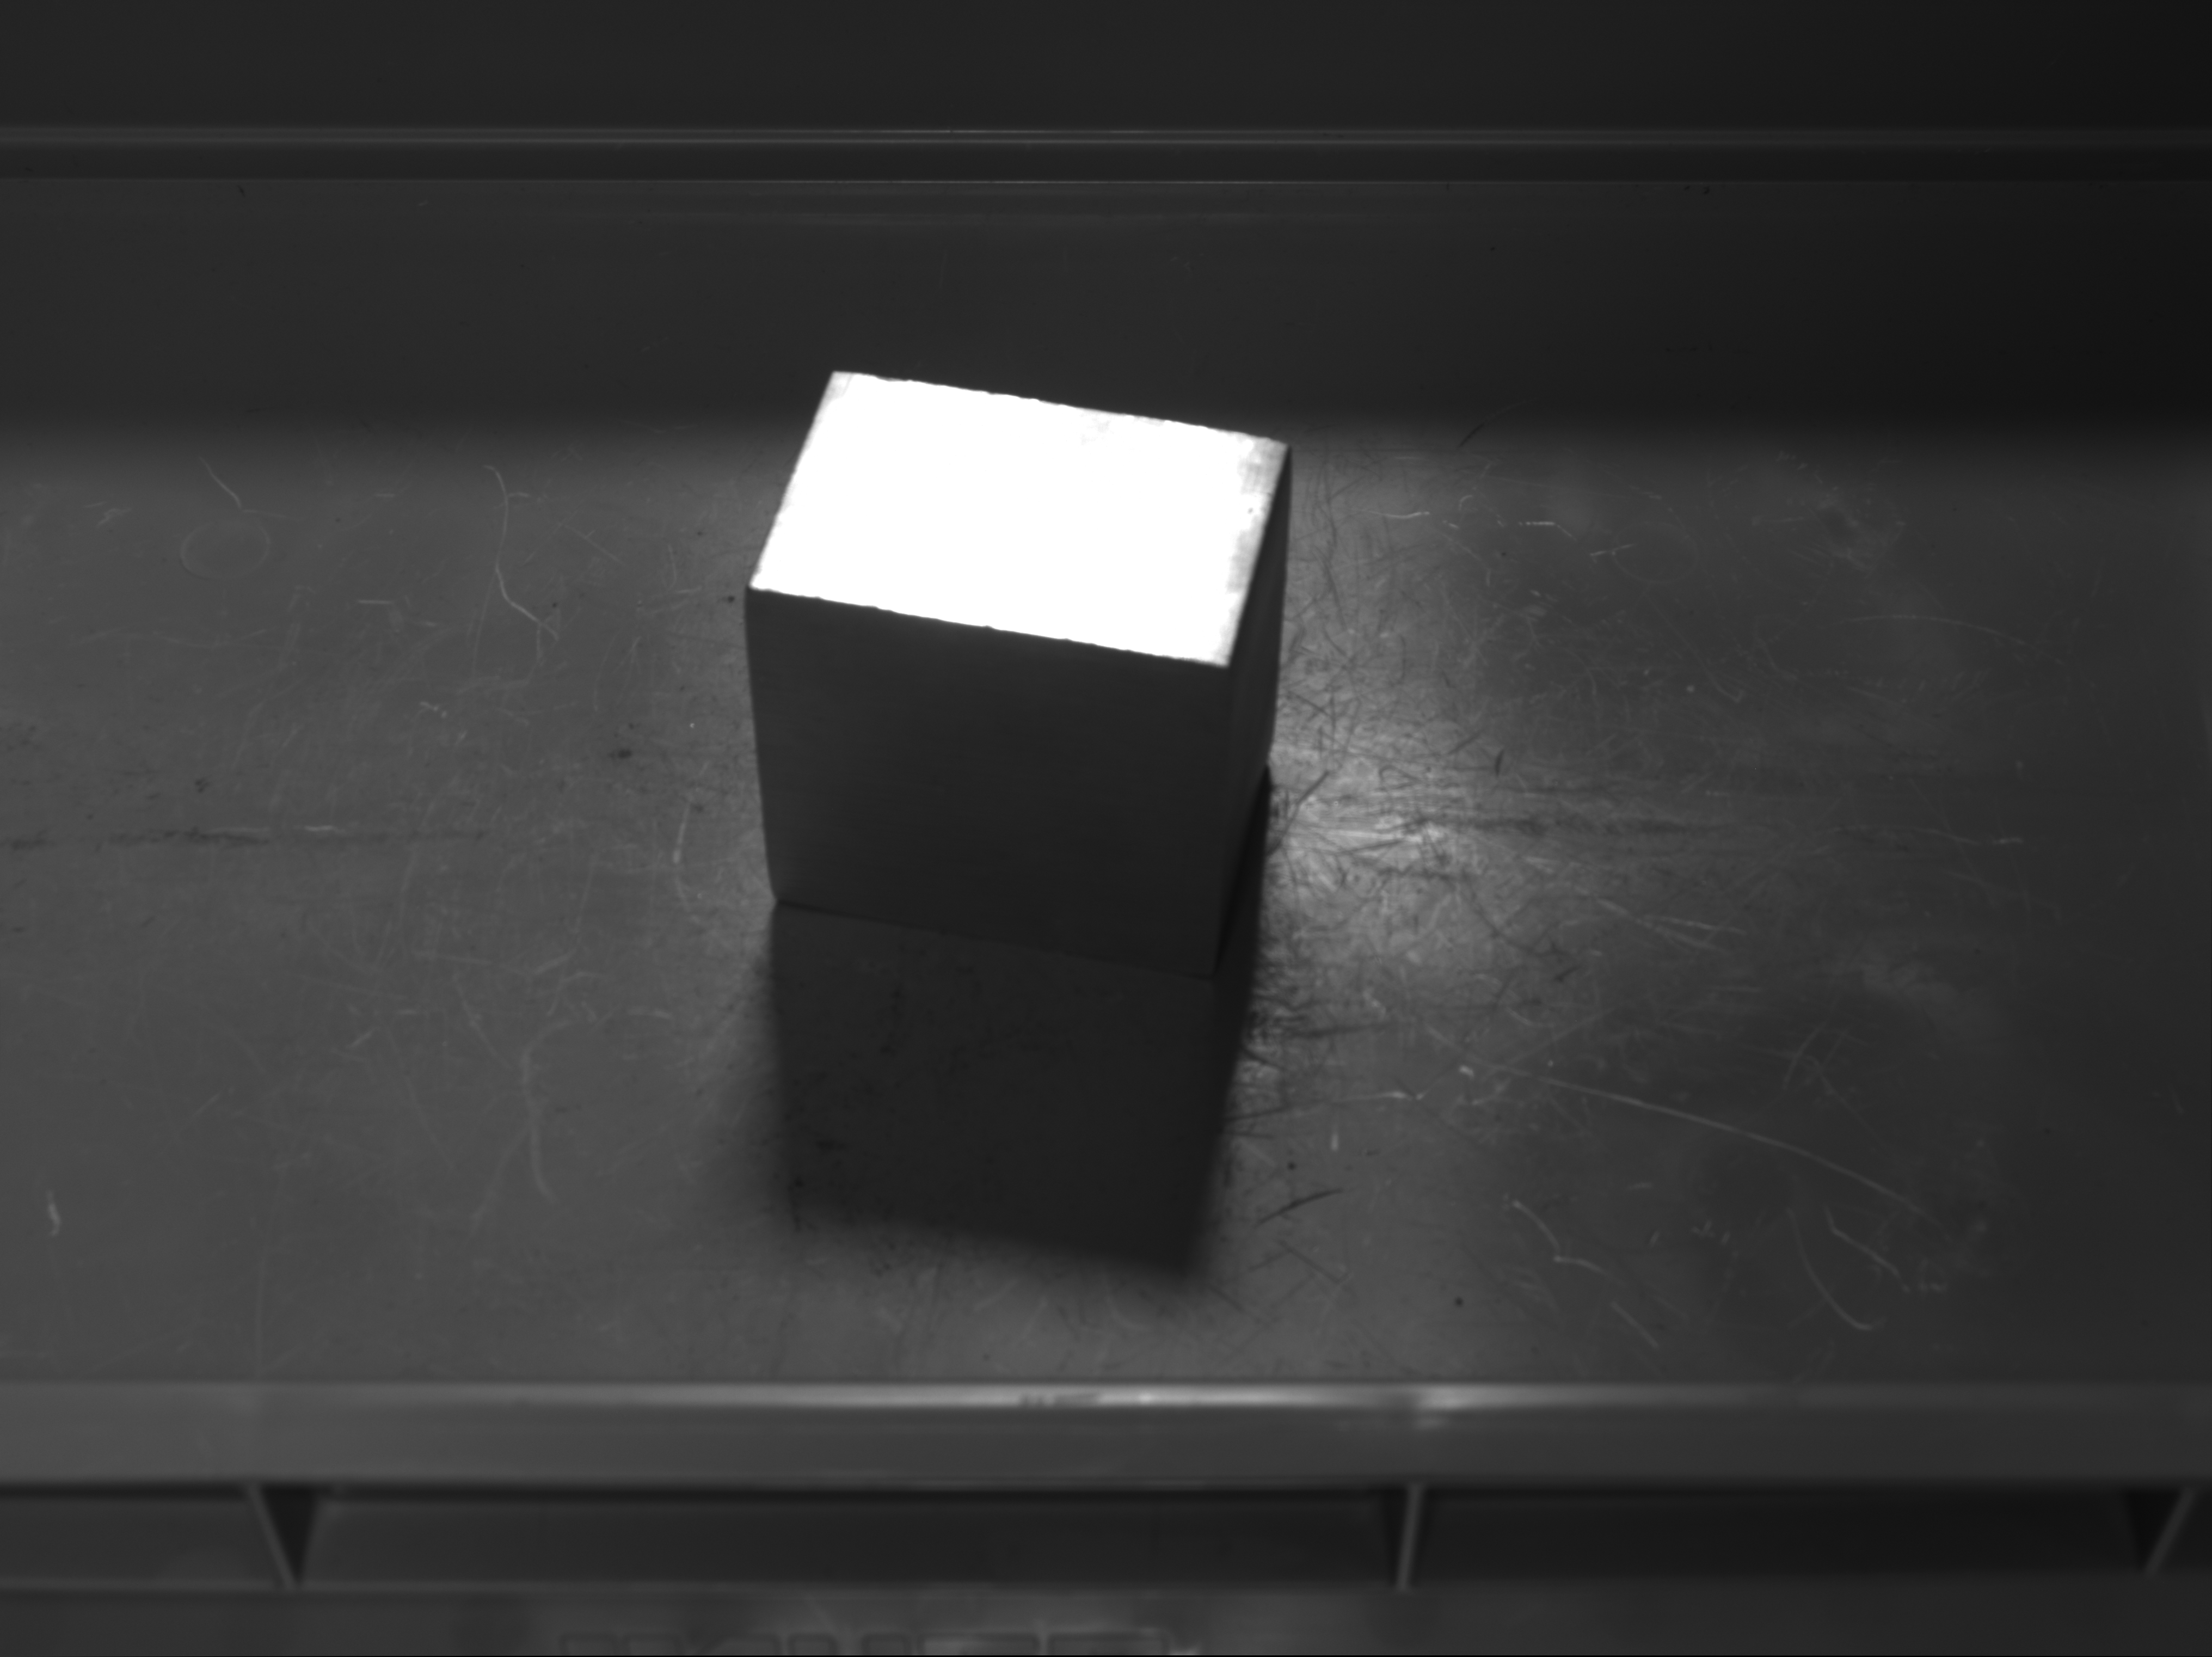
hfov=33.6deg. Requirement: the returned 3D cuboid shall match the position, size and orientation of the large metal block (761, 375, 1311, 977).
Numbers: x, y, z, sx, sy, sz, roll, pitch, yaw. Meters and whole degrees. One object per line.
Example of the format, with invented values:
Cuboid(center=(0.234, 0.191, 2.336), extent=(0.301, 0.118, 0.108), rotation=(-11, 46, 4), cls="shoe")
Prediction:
Cuboid(center=(-0.010, -0.025, 0.625), extent=(0.080, 0.080, 0.050), rotation=(9, 50, 8), cls="large metal block")
